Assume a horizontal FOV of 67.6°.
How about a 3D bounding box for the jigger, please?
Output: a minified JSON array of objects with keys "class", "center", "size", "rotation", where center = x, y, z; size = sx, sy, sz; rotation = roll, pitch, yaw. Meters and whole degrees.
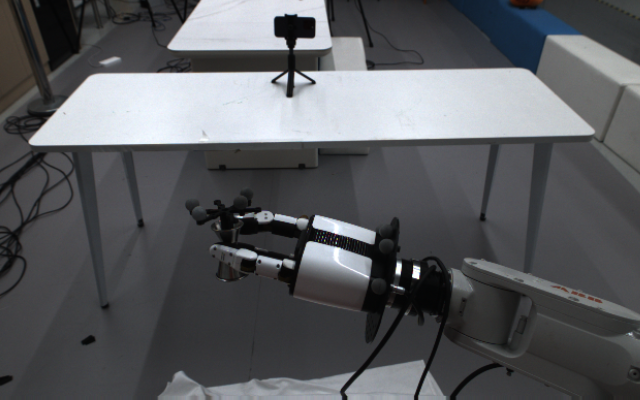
[{"class":"jigger","center":[-0.112,0.062,0.606],"size":[0.043,0.071,0.043],"rotation":[-2,19,1]}]
